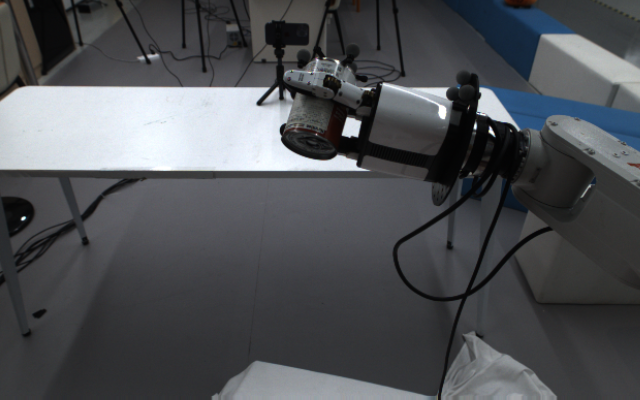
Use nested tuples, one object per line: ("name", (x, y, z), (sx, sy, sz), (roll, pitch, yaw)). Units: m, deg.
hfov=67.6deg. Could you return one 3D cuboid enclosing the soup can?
("soup can", (0.001, -0.108, 0.577), (0.067, 0.067, 0.101), (11, 72, 13))
